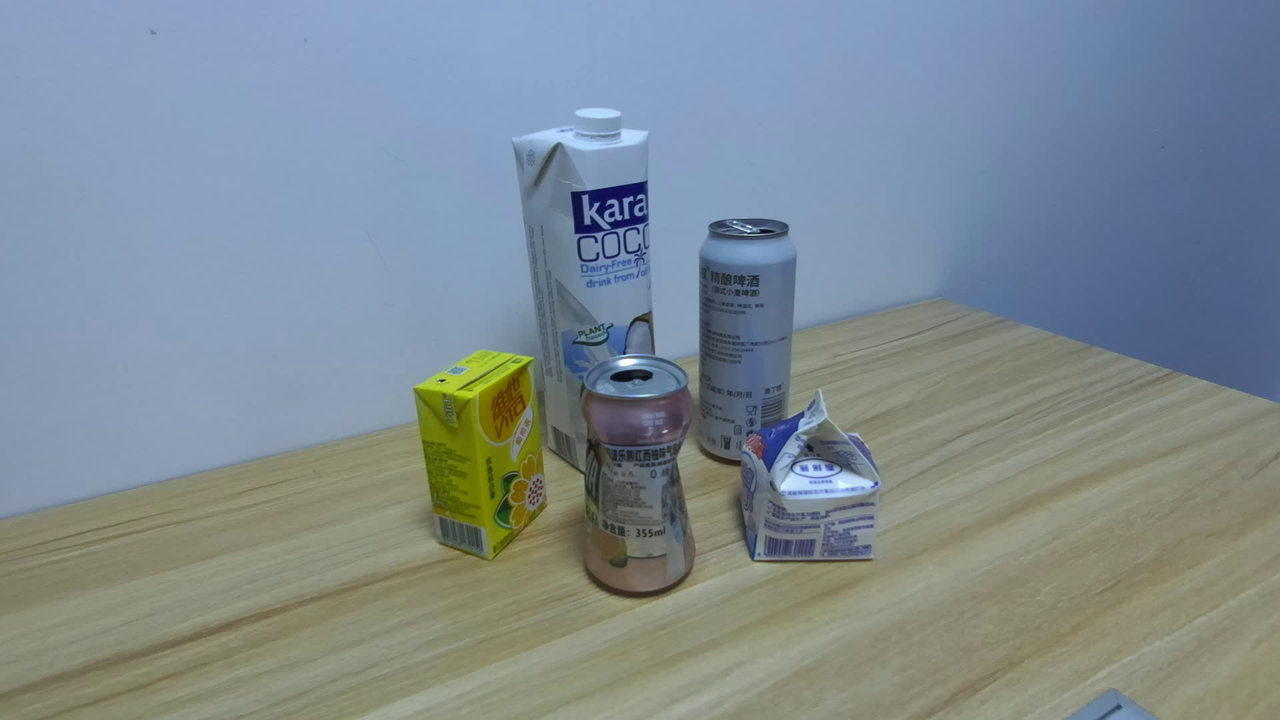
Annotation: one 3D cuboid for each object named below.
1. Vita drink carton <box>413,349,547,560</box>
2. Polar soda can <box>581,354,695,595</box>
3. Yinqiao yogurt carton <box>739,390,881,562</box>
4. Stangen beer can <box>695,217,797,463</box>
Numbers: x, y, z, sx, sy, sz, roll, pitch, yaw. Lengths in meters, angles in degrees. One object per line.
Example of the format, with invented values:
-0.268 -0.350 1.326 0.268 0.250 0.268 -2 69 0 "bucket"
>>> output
-0.095 0.056 0.438 0.043 0.109 0.067 9 24 25 "Vita drink carton"
0.000 0.064 0.396 0.067 0.122 0.074 16 29 35 "Polar soda can"
0.102 0.064 0.423 0.077 0.093 0.083 0 21 2 "Yinqiao yogurt carton"
0.075 -0.012 0.504 0.067 0.171 0.067 -1 21 1 "Stangen beer can"
